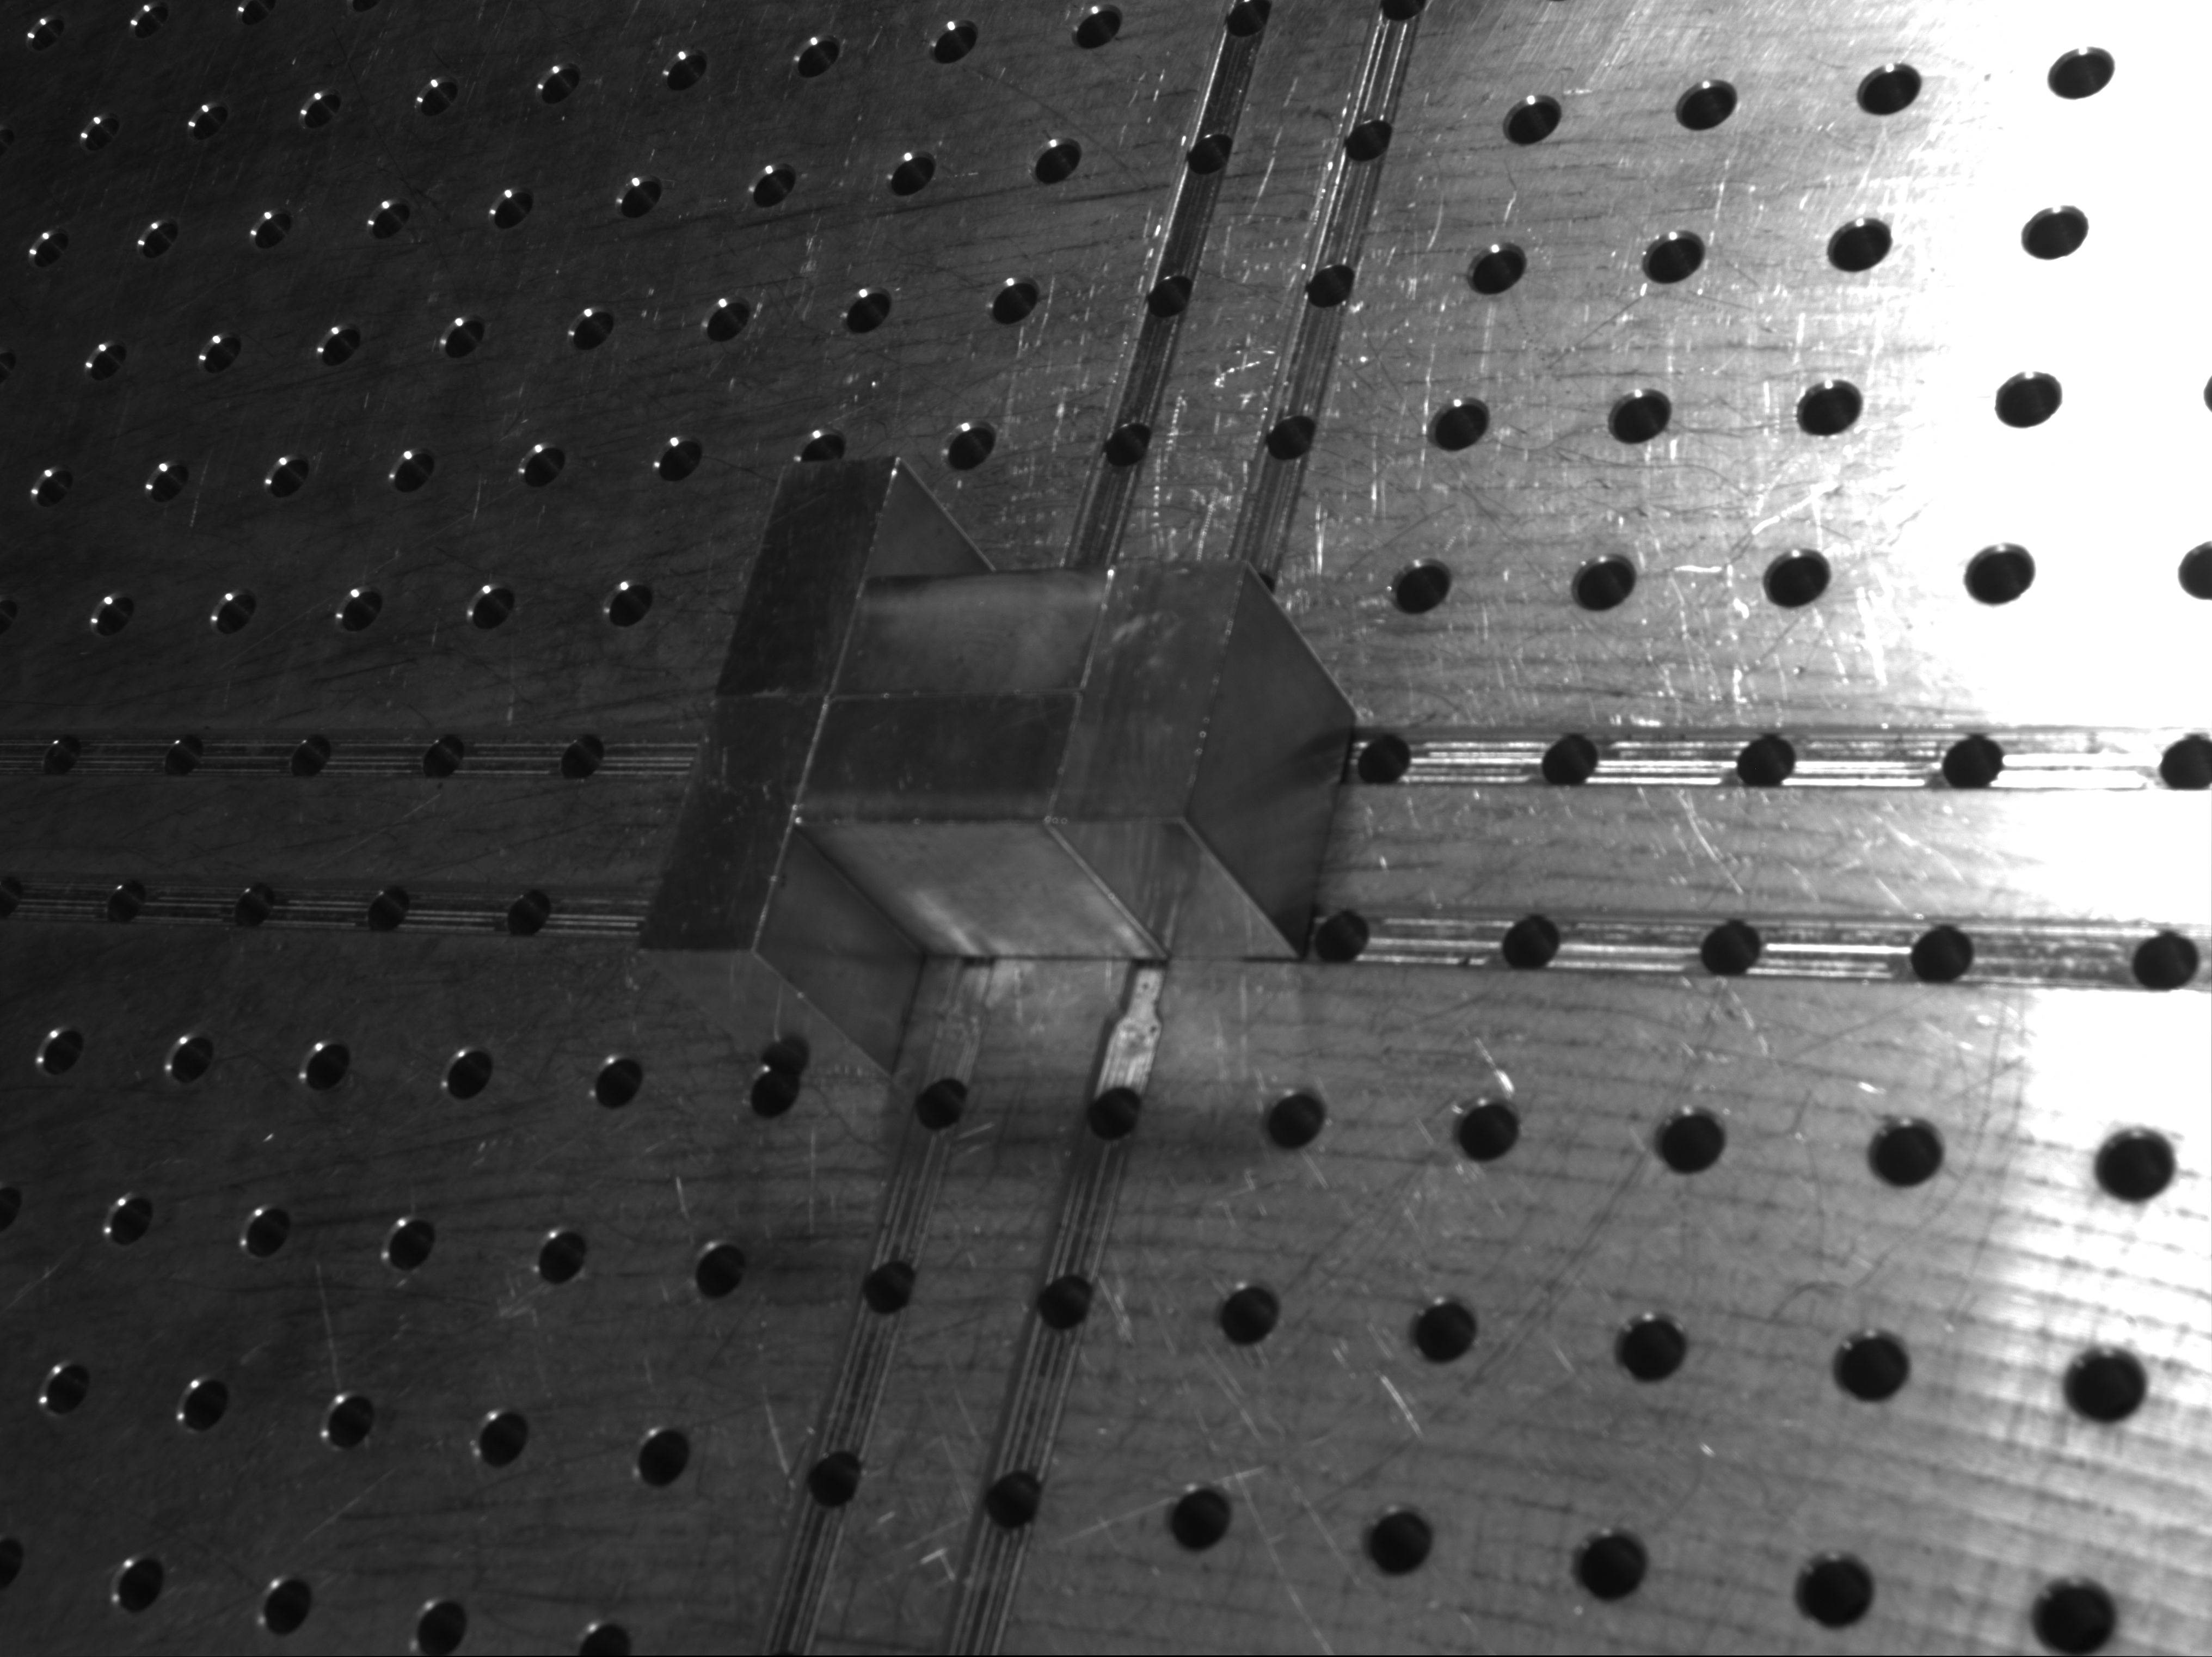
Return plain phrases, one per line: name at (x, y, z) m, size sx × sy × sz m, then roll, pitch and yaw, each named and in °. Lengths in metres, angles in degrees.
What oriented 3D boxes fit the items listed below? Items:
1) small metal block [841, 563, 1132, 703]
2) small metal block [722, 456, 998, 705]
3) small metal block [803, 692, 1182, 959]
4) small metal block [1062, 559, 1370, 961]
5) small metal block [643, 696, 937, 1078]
small metal block at (-0.011, -0.022, 0.650) m, size 0.050 × 0.050 × 0.025 m, roll 0°, pitch 61°, yaw 28°
small metal block at (-0.041, -0.033, 0.673) m, size 0.025 × 0.050 × 0.050 m, roll 0°, pitch 61°, yaw 28°
small metal block at (-0.016, 0.000, 0.639) m, size 0.050 × 0.050 × 0.025 m, roll 0°, pitch 61°, yaw 28°
small metal block at (0.020, -0.011, 0.627) m, size 0.025 × 0.050 × 0.050 m, roll 0°, pitch 61°, yaw 28°
small metal block at (-0.052, 0.011, 0.652) m, size 0.025 × 0.050 × 0.050 m, roll 0°, pitch 61°, yaw 28°
